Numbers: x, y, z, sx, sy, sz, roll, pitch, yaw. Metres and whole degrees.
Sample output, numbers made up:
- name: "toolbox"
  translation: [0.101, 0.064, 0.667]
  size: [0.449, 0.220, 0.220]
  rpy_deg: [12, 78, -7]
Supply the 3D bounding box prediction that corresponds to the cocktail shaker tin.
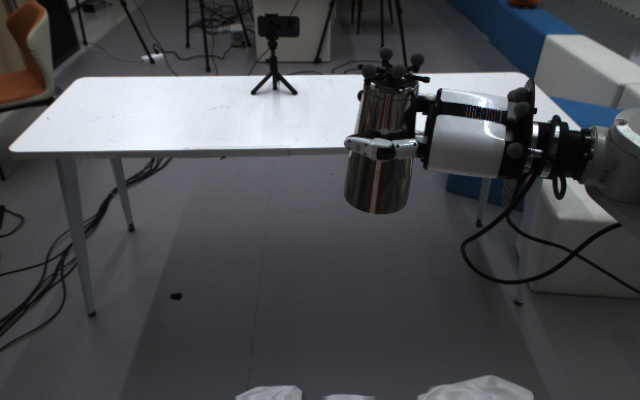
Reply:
- name: "cocktail shaker tin"
  translation: [0.085, -0.078, 0.635]
  size: [0.093, 0.170, 0.093]
  rpy_deg: [2, 36, -2]
